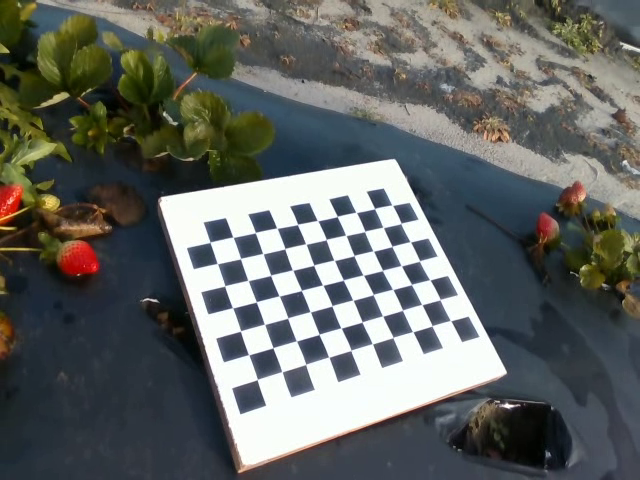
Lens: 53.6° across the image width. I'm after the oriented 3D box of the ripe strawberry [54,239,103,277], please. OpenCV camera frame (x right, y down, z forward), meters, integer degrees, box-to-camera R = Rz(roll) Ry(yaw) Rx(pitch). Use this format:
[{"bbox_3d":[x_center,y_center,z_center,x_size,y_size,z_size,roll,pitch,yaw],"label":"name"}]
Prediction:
[{"bbox_3d":[-0.215,0.017,0.557,0.043,0.035,0.030,32,-36,7],"label":"ripe strawberry"}]
